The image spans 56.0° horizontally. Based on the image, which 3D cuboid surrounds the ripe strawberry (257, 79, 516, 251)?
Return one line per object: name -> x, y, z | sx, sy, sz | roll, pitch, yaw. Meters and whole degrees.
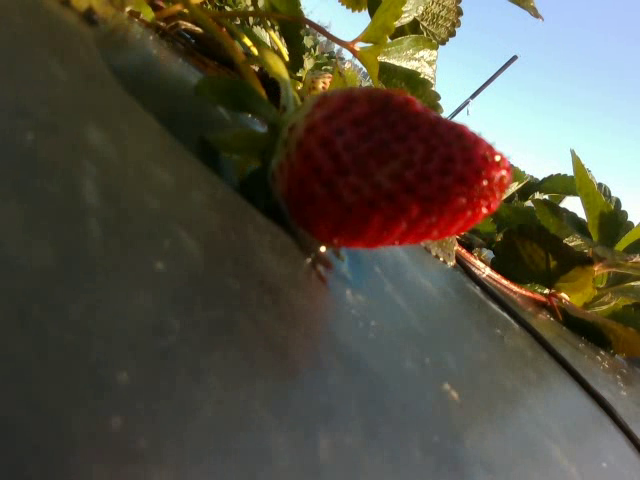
ripe strawberry -> 0.010, -0.010, 0.082 | 0.041, 0.031, 0.028 | 10, 12, 42
